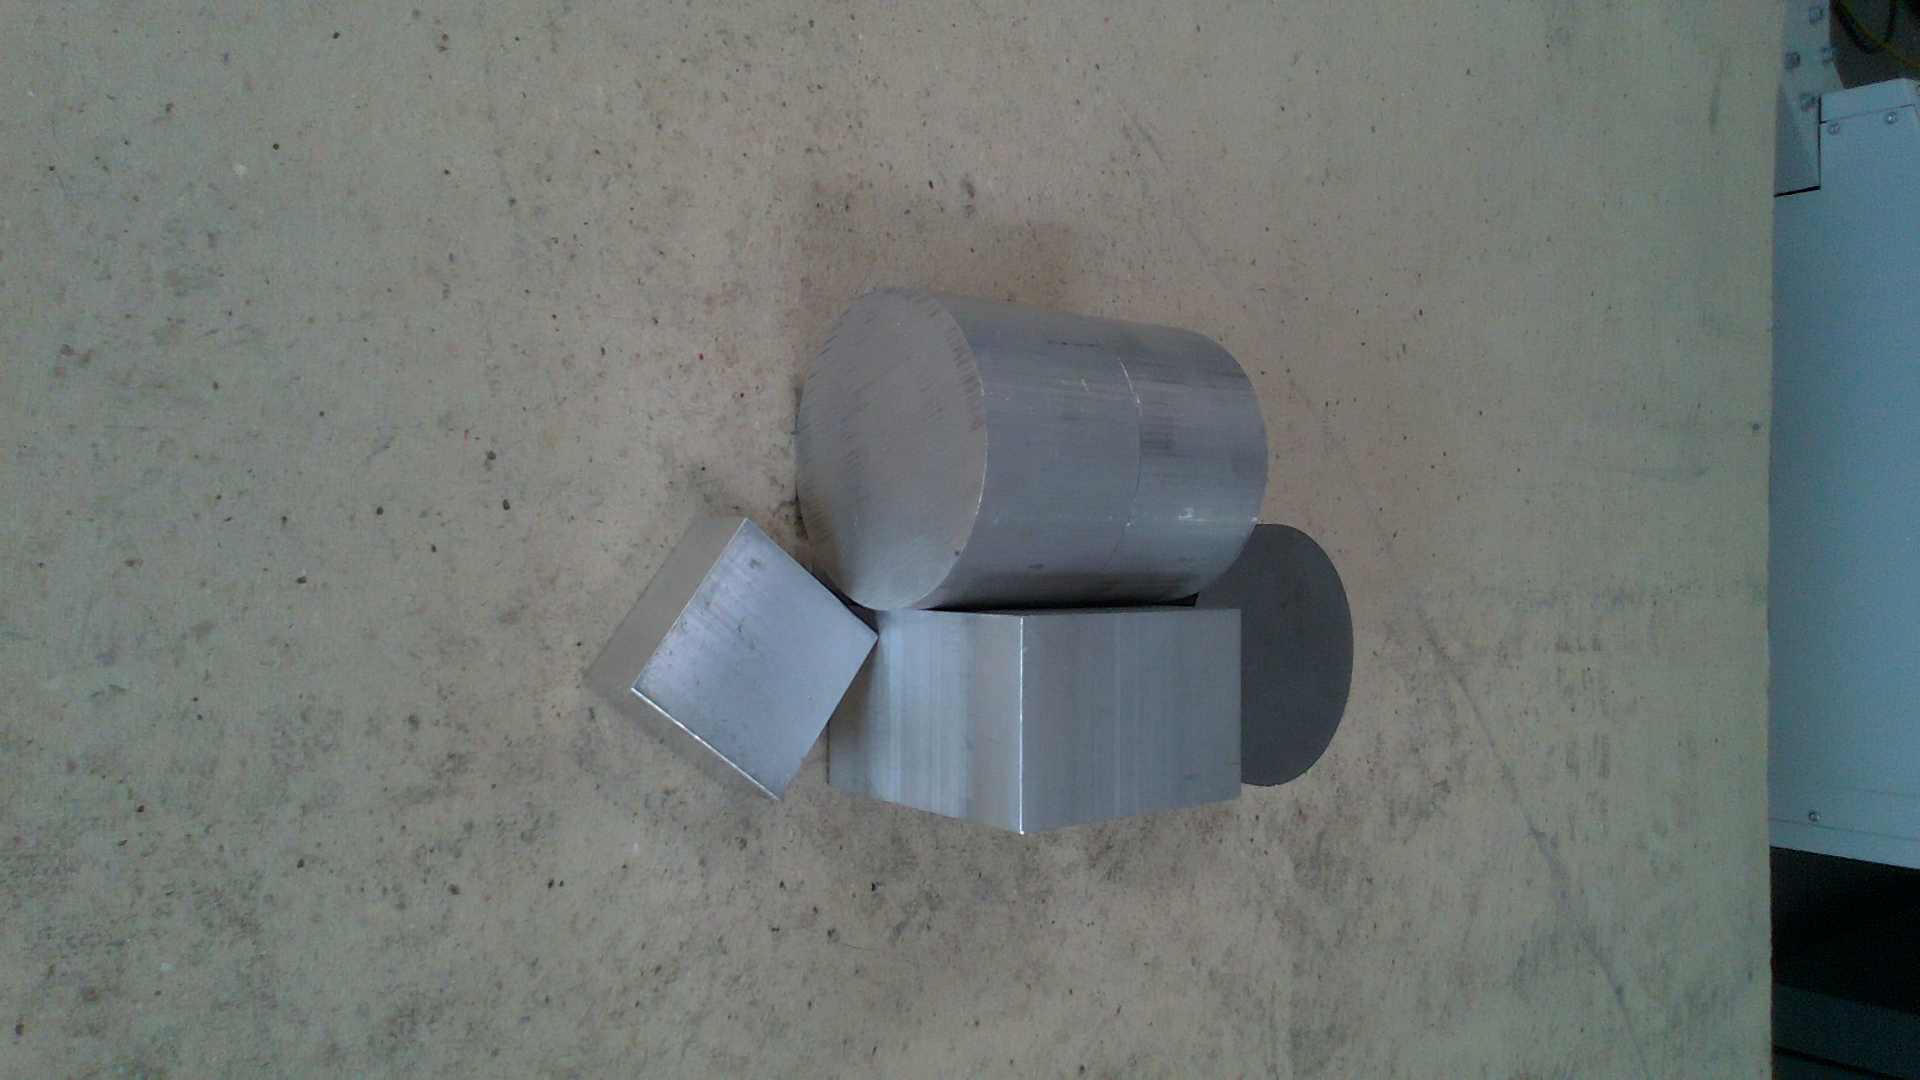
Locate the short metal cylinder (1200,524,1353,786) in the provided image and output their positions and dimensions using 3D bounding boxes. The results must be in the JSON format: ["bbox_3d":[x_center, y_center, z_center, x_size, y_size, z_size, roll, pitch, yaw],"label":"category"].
[{"bbox_3d":[0.081,0.035,0.439,0.080,0.050,0.080,0,90,-40],"label":"short metal cylinder"}]

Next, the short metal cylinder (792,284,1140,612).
[{"bbox_3d":[0.000,-0.022,0.353,0.050,0.080,0.080,1,89,-40],"label":"short metal cylinder"}]

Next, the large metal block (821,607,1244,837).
[{"bbox_3d":[0.019,0.043,0.370,0.080,0.080,0.050,1,89,-40],"label":"large metal block"}]

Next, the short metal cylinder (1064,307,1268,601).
[{"bbox_3d":[0.038,-0.023,0.386,0.050,0.080,0.080,1,89,-40],"label":"short metal cylinder"}]

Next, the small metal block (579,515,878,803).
[{"bbox_3d":[-0.056,0.029,0.343,0.050,0.025,0.050,45,63,-30],"label":"small metal block"}]
